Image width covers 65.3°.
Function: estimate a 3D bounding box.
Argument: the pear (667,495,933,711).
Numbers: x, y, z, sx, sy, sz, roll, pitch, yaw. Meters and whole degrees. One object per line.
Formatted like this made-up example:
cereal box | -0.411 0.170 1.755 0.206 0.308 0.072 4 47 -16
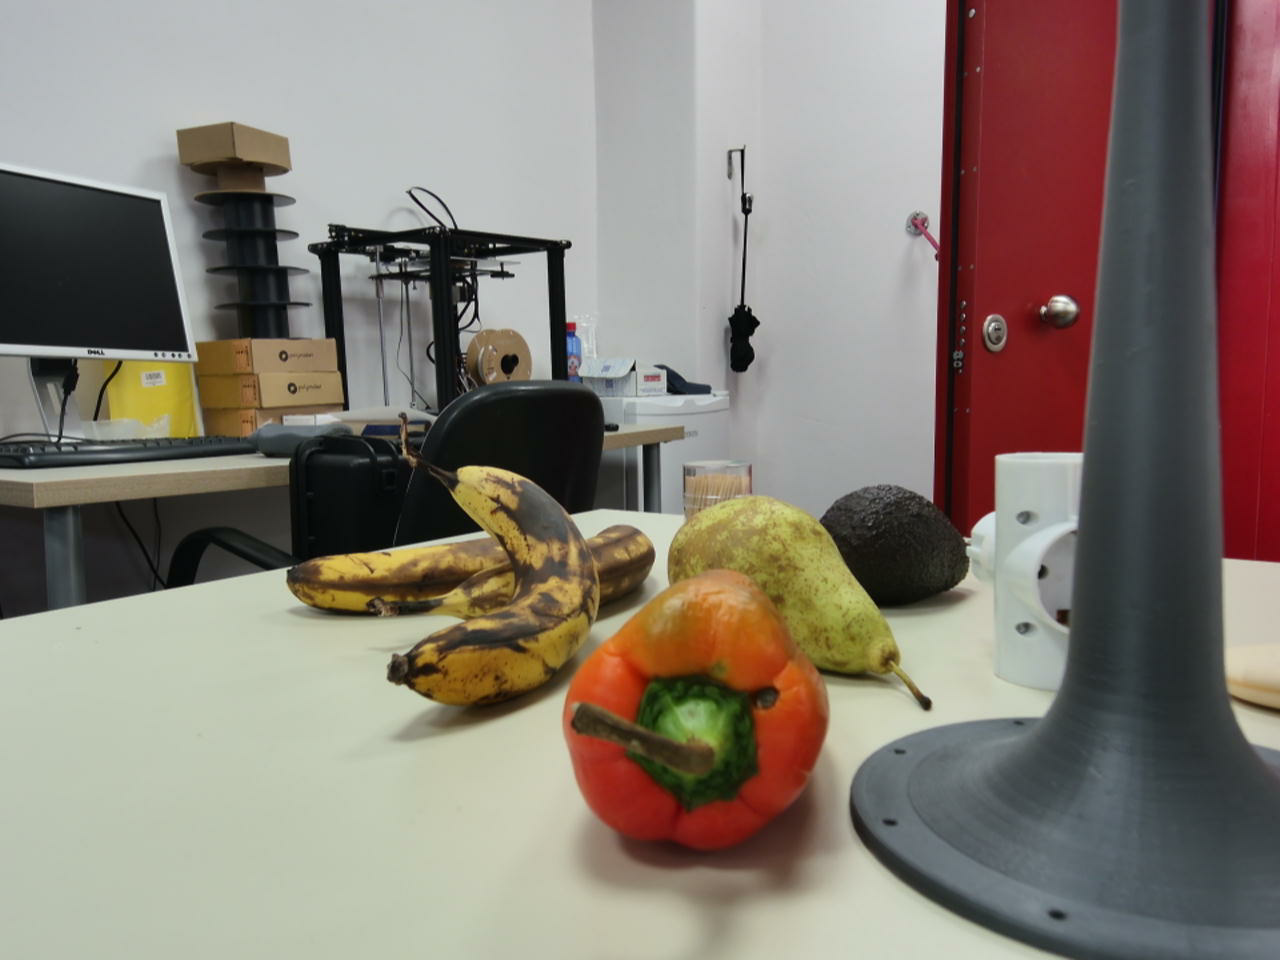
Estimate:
pear | 0.072 0.046 0.440 0.128 0.075 0.071 2 4 29
